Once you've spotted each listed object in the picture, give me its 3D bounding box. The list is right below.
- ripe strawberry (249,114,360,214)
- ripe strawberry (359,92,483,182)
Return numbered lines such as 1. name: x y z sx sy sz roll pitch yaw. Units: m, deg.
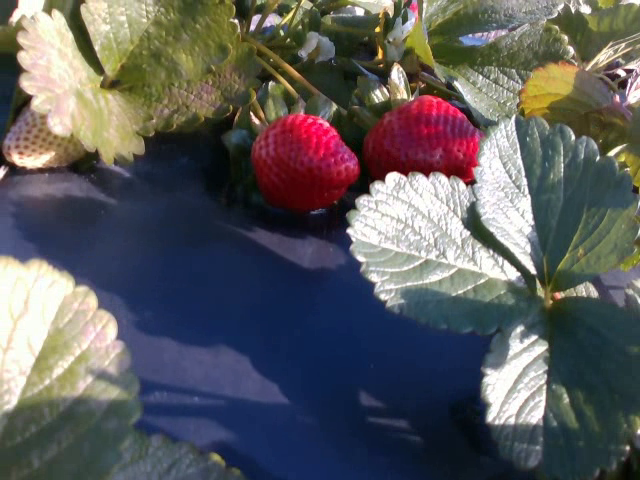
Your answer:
1. ripe strawberry: -0.003 -0.026 0.208 0.051 0.043 0.037 25 -26 46
2. ripe strawberry: 0.047 -0.033 0.230 0.052 0.046 0.057 -37 36 -18
